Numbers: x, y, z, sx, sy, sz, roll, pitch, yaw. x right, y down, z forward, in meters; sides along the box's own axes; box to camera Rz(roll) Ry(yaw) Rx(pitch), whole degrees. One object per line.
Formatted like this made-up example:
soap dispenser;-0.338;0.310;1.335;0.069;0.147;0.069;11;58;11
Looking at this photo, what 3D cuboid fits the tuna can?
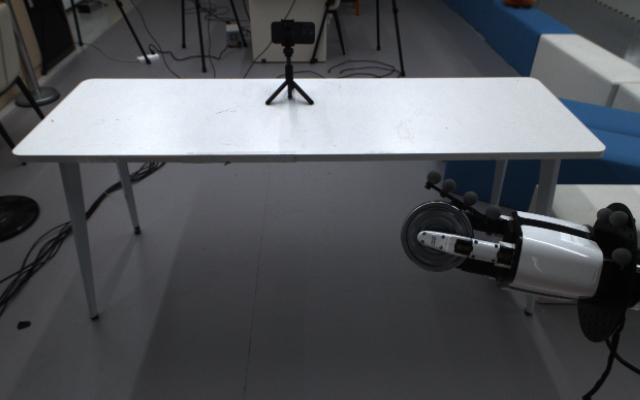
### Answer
tuna can;0.146;0.049;0.585;0.085;0.085;0.034;13;4;15
